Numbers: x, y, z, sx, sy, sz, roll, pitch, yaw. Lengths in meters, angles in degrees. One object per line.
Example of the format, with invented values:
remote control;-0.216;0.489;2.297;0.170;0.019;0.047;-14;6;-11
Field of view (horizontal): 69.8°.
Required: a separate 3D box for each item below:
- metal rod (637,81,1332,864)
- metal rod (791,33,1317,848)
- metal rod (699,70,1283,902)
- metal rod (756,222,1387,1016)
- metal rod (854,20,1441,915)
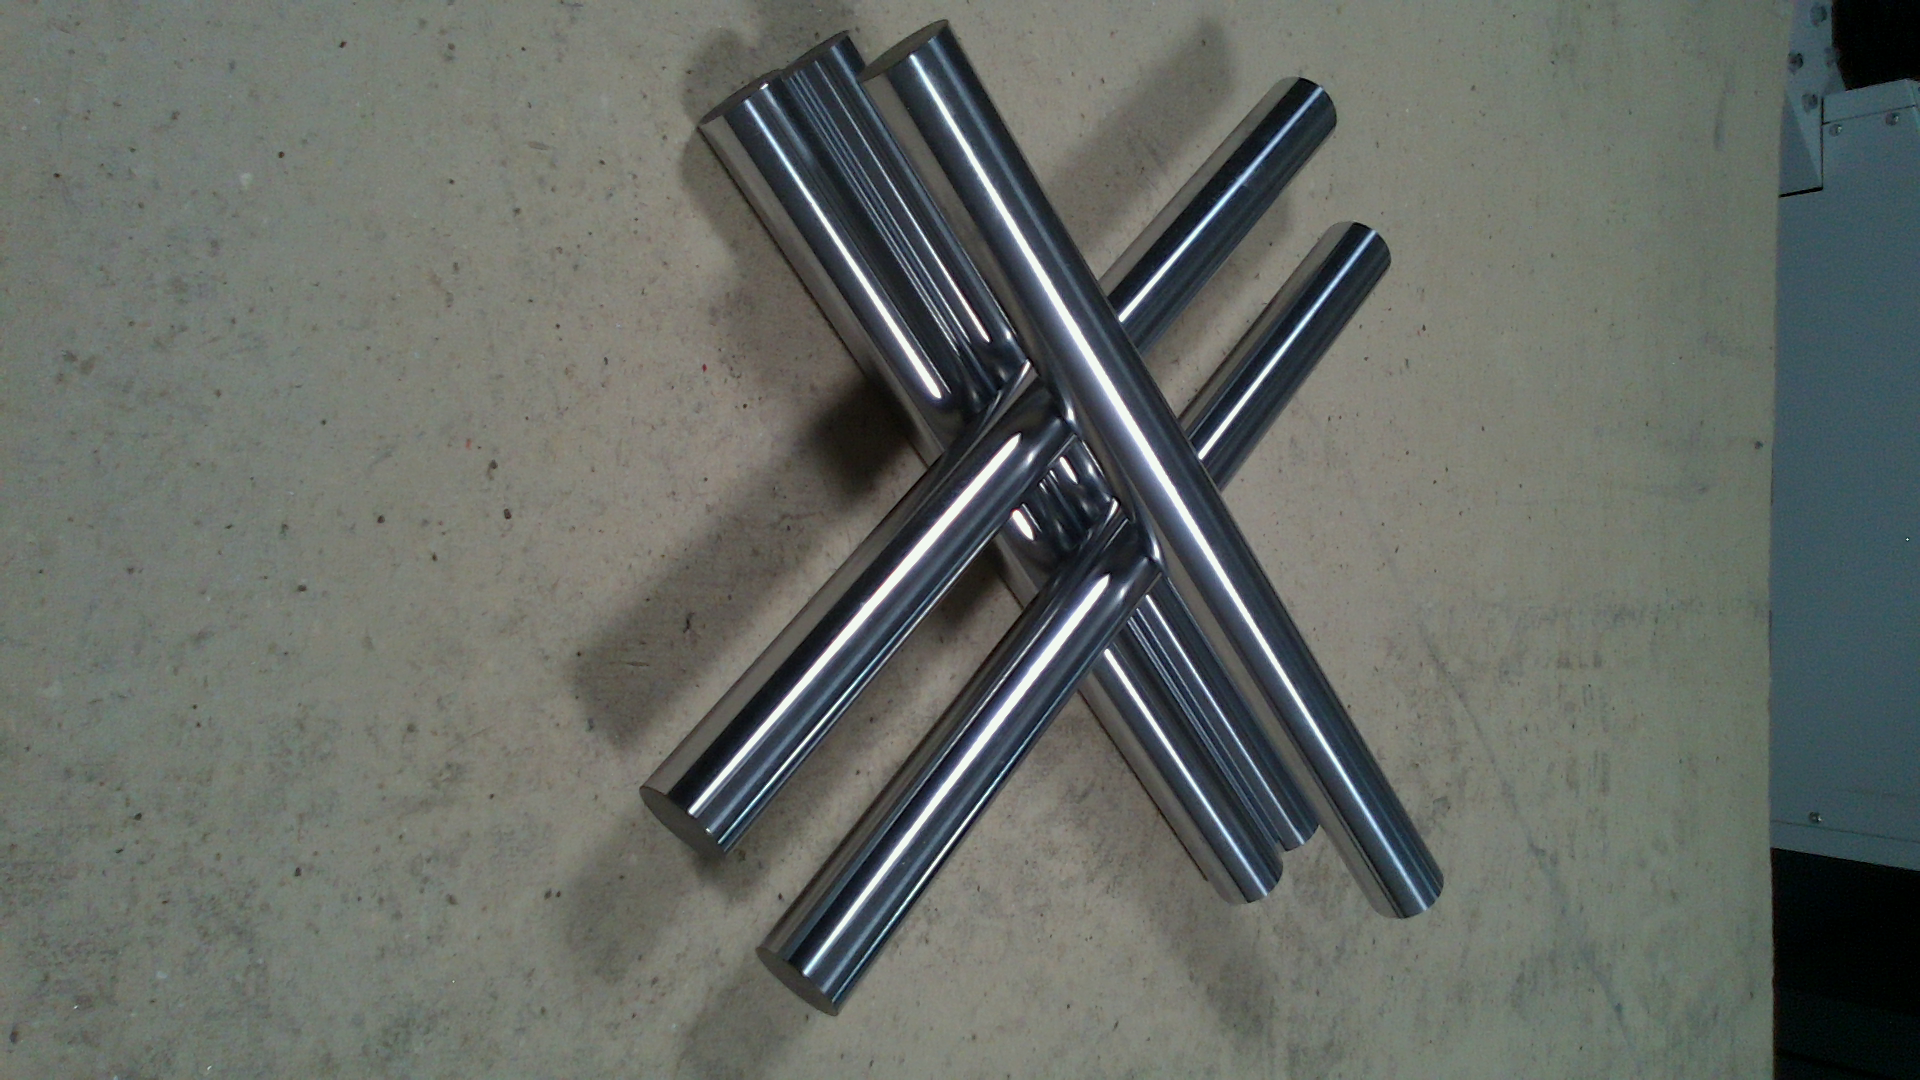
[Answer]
metal rod;0.024;-0.037;0.376;0.301;0.025;0.025;-50;119;-28
metal rod;0.038;-0.013;0.420;0.025;0.025;0.301;-49;119;-28
metal rod;0.022;0.002;0.407;0.025;0.025;0.301;-49;119;-28
metal rod;0.047;0.004;0.396;0.301;0.025;0.025;-50;119;-28
metal rod;0.064;0.000;0.378;0.025;0.025;0.301;-50;119;-28
